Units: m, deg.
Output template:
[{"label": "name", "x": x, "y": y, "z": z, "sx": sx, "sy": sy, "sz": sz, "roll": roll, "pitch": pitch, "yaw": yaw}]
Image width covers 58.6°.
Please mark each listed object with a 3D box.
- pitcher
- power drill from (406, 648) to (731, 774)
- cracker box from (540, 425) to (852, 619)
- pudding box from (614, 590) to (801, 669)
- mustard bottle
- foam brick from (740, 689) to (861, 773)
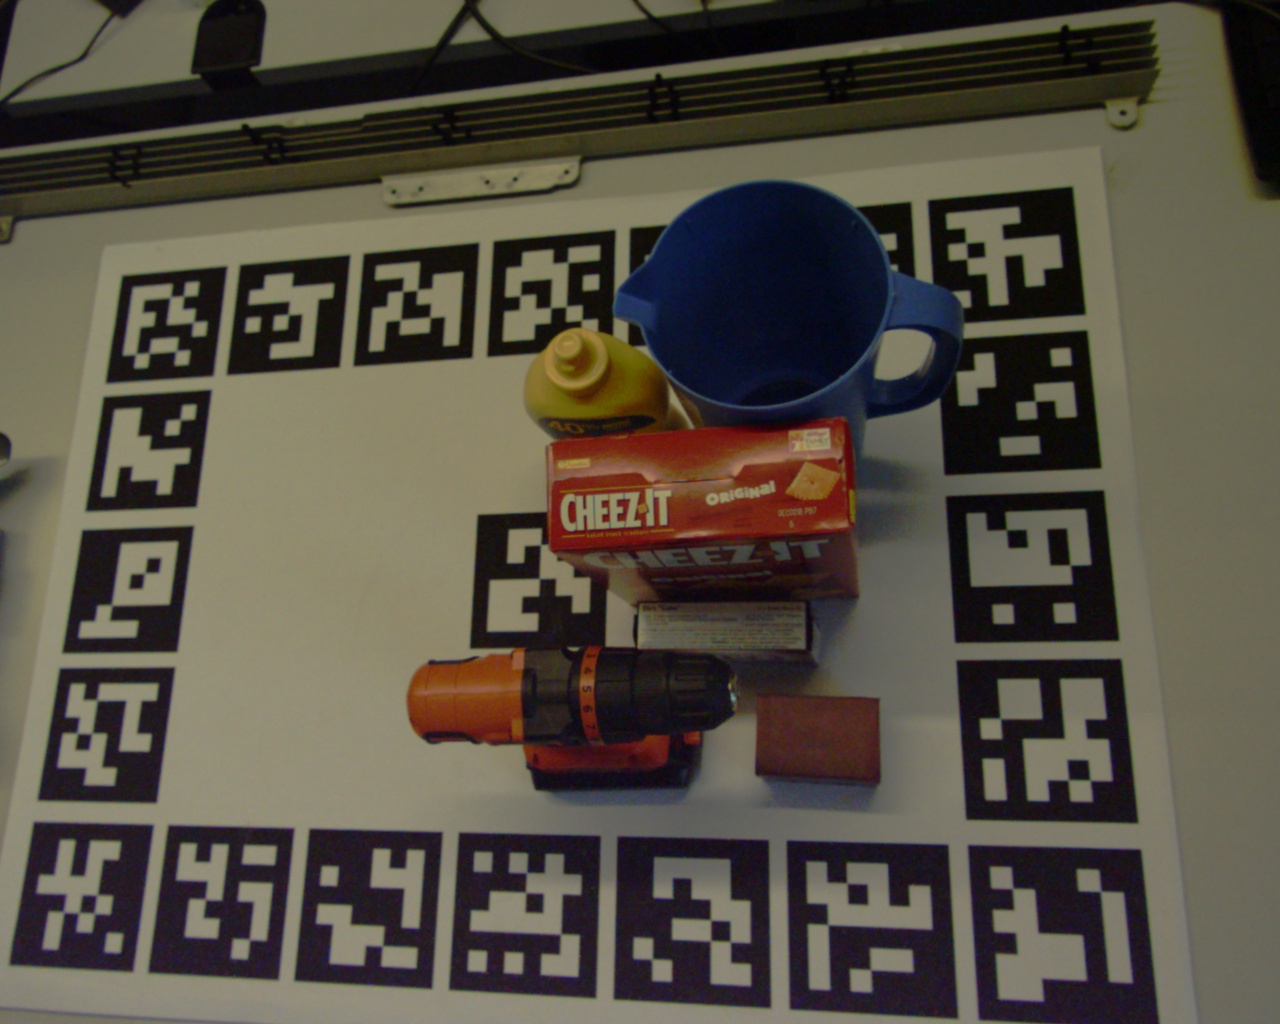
[{"label": "pitcher", "x": 0.092, "y": -0.083, "z": 0.736, "sx": 0.190, "sy": 0.240, "sz": 0.133, "roll": 4, "pitch": 77, "yaw": 15}, {"label": "power drill", "x": -0.029, "y": 0.124, "z": 0.698, "sx": 0.185, "sy": 0.185, "sz": 0.057, "roll": -3, "pitch": 72, "yaw": 11}, {"label": "cracker box", "x": 0.045, "y": 0.018, "z": 0.726, "sx": 0.165, "sy": 0.212, "sz": 0.072, "roll": -4, "pitch": 73, "yaw": 14}, {"label": "pudding box", "x": 0.047, "y": 0.079, "z": 0.765, "sx": 0.115, "sy": 0.089, "sz": 0.039, "roll": -1, "pitch": 74, "yaw": 15}, {"label": "mustard bottle", "x": -0.036, "y": -0.076, "z": 0.776, "sx": 0.097, "sy": 0.190, "sz": 0.058, "roll": 12, "pitch": 79, "yaw": 15}, {"label": "foam brick", "x": 0.108, "y": 0.148, "z": 0.767, "sx": 0.078, "sy": 0.051, "sz": 0.053, "roll": 1, "pitch": 77, "yaw": 13}]
